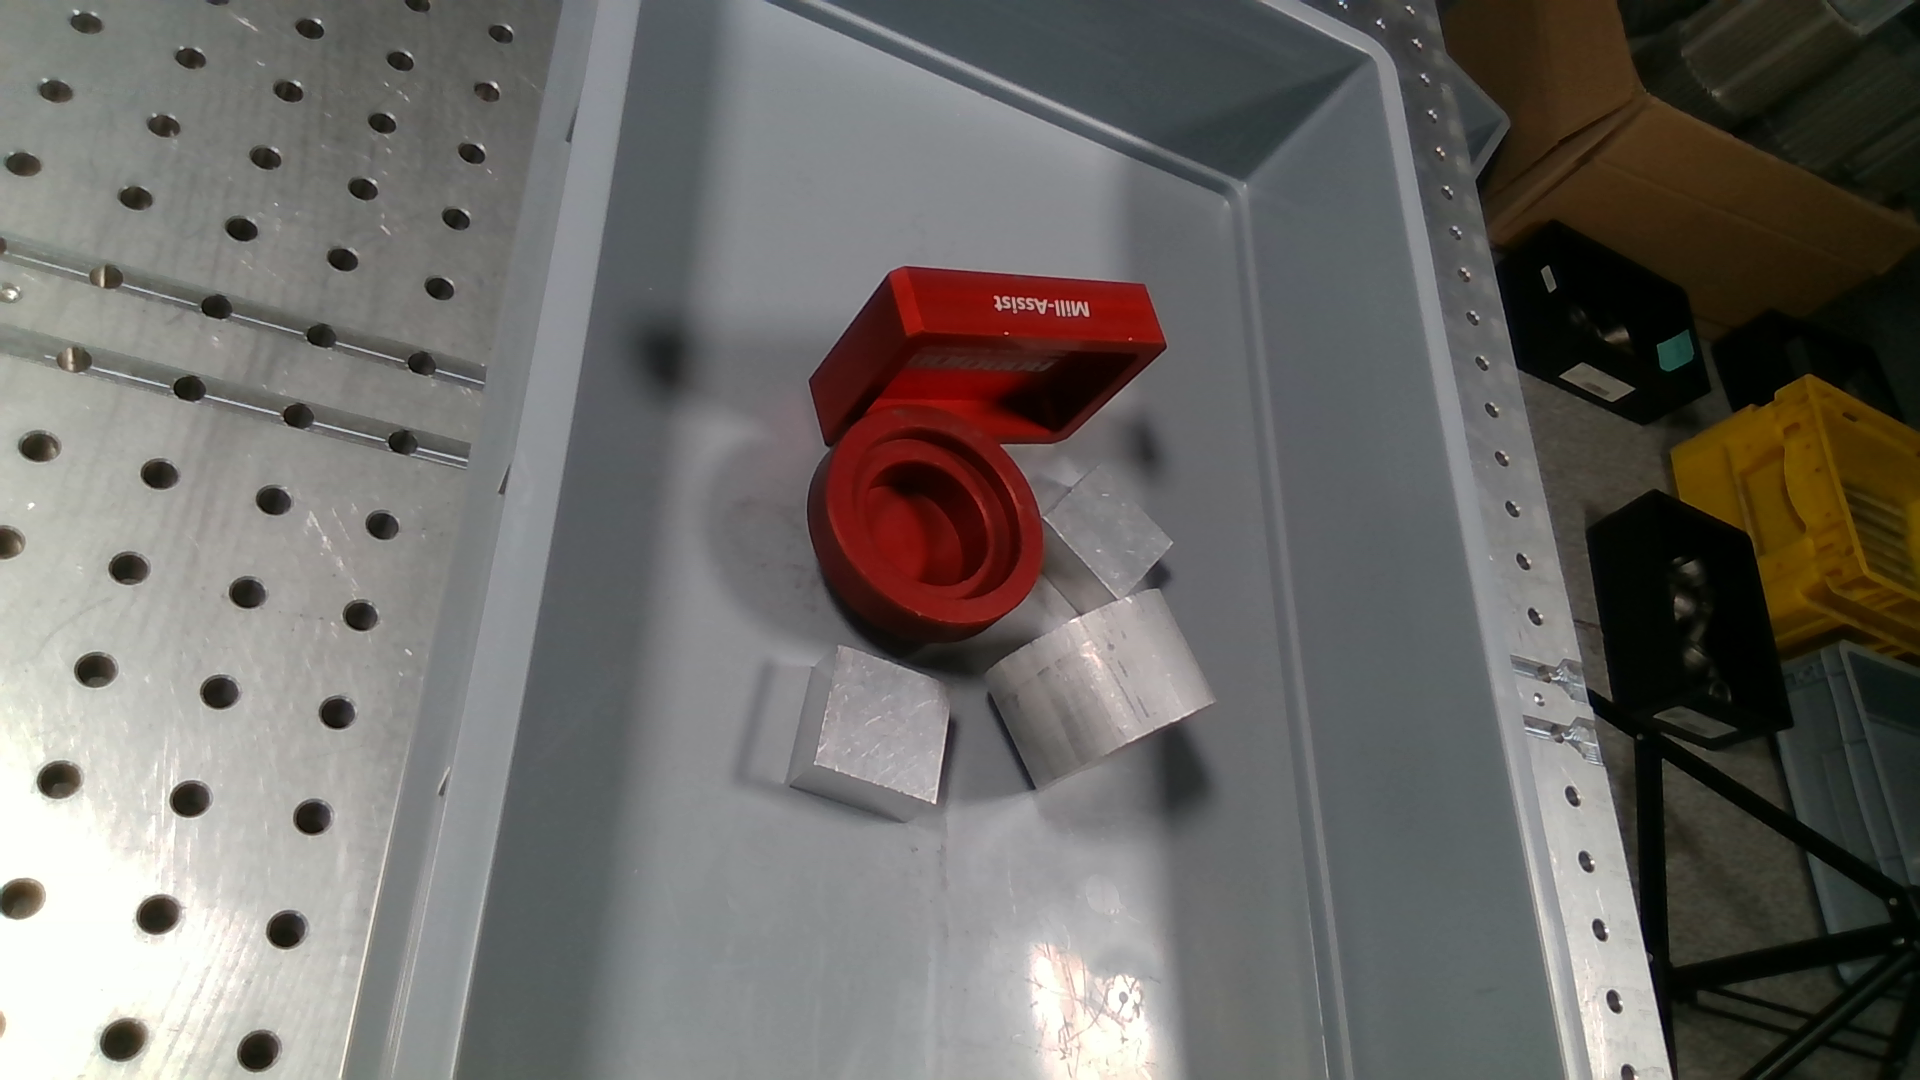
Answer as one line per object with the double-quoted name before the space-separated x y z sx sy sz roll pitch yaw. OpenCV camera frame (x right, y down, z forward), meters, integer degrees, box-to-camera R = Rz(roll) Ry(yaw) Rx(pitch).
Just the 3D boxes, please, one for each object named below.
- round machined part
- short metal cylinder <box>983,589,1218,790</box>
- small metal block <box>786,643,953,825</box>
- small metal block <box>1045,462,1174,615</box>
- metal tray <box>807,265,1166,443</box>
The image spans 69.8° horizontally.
"round machined part" -0.017 -0.003 0.563 0.098 0.042 0.098 14 59 -25
"short metal cylinder" 0.056 0.060 0.551 0.080 0.080 0.050 -17 75 -37
"small metal block" -0.034 0.074 0.524 0.050 0.025 0.050 23 54 -20
"small metal block" 0.061 0.001 0.621 0.050 0.025 0.050 47 49 0
"metal tray" 0.012 -0.076 0.590 0.130 0.090 0.030 -3 66 -33
